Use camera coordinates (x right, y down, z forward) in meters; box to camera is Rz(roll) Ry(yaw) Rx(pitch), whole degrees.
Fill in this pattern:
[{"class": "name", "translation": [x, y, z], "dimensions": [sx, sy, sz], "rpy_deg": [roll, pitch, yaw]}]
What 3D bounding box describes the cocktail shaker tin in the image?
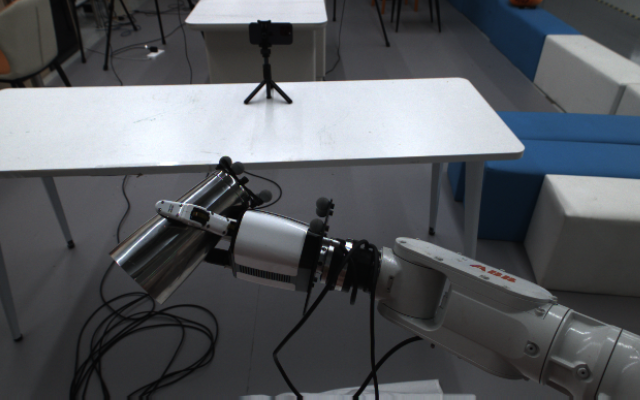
[{"class": "cocktail shaker tin", "translation": [-0.171, 0.037, 0.621], "dimensions": [0.093, 0.093, 0.170], "rpy_deg": [32, 66, 36]}]
